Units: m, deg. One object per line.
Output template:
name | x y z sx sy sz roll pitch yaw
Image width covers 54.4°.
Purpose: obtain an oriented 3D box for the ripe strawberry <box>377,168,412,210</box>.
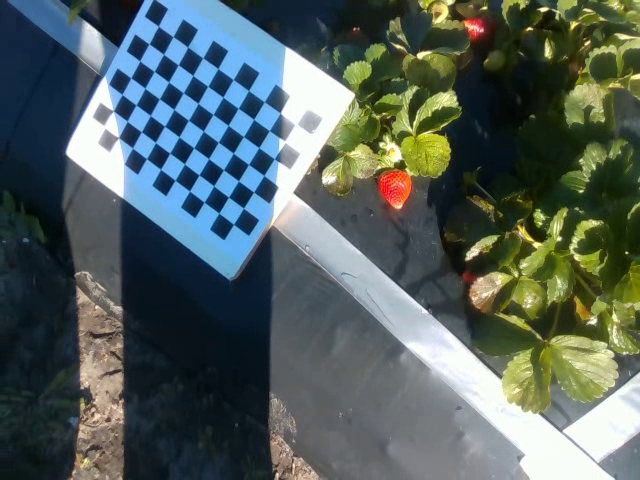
ripe strawberry | 0.092 -0.062 0.768 0.048 0.055 0.029 -11 0 18
